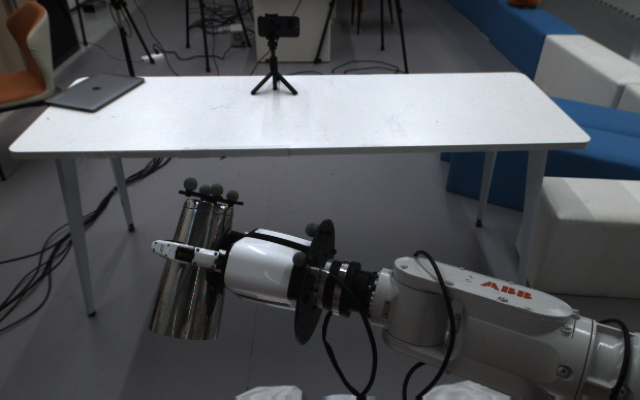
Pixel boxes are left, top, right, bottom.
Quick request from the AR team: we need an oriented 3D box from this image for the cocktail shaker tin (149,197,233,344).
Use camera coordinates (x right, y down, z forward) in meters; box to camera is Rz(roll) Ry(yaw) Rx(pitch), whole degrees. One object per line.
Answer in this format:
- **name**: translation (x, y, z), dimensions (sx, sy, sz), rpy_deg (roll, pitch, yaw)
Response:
- **cocktail shaker tin**: translation (-0.162, 0.089, 0.641), dimensions (0.093, 0.170, 0.093), rpy_deg (10, -5, 1)
